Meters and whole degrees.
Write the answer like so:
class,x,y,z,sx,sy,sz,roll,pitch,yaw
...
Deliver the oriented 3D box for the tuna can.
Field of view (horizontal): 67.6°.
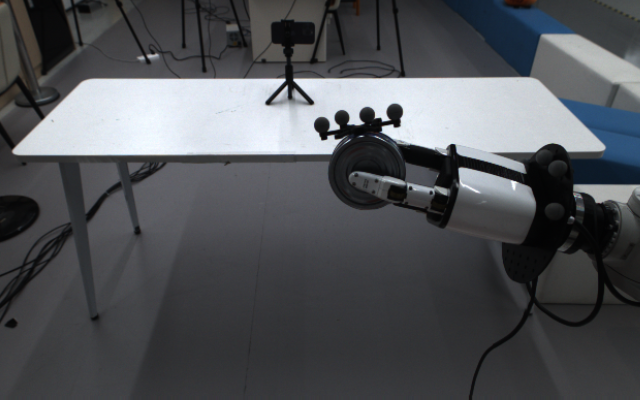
class,x,y,z,sx,sy,sz,roll,pitch,yaw
tuna can,0.054,-0.035,0.540,0.085,0.085,0.034,6,18,5
